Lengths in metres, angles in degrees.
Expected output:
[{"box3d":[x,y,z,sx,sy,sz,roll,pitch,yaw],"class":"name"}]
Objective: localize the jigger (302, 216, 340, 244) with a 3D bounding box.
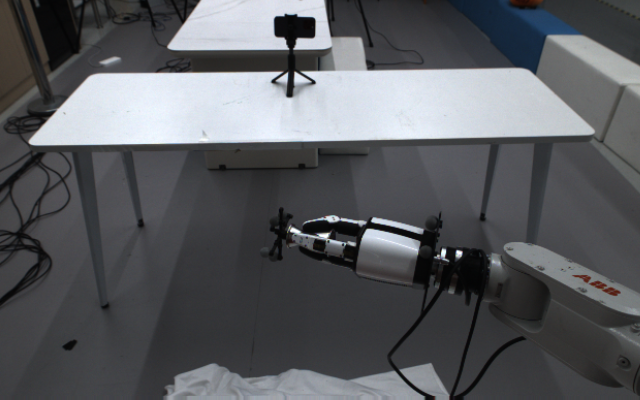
[{"box3d":[-0.008,0.056,0.751,0.071,0.043,0.043,8,35,16],"class":"jigger"}]
